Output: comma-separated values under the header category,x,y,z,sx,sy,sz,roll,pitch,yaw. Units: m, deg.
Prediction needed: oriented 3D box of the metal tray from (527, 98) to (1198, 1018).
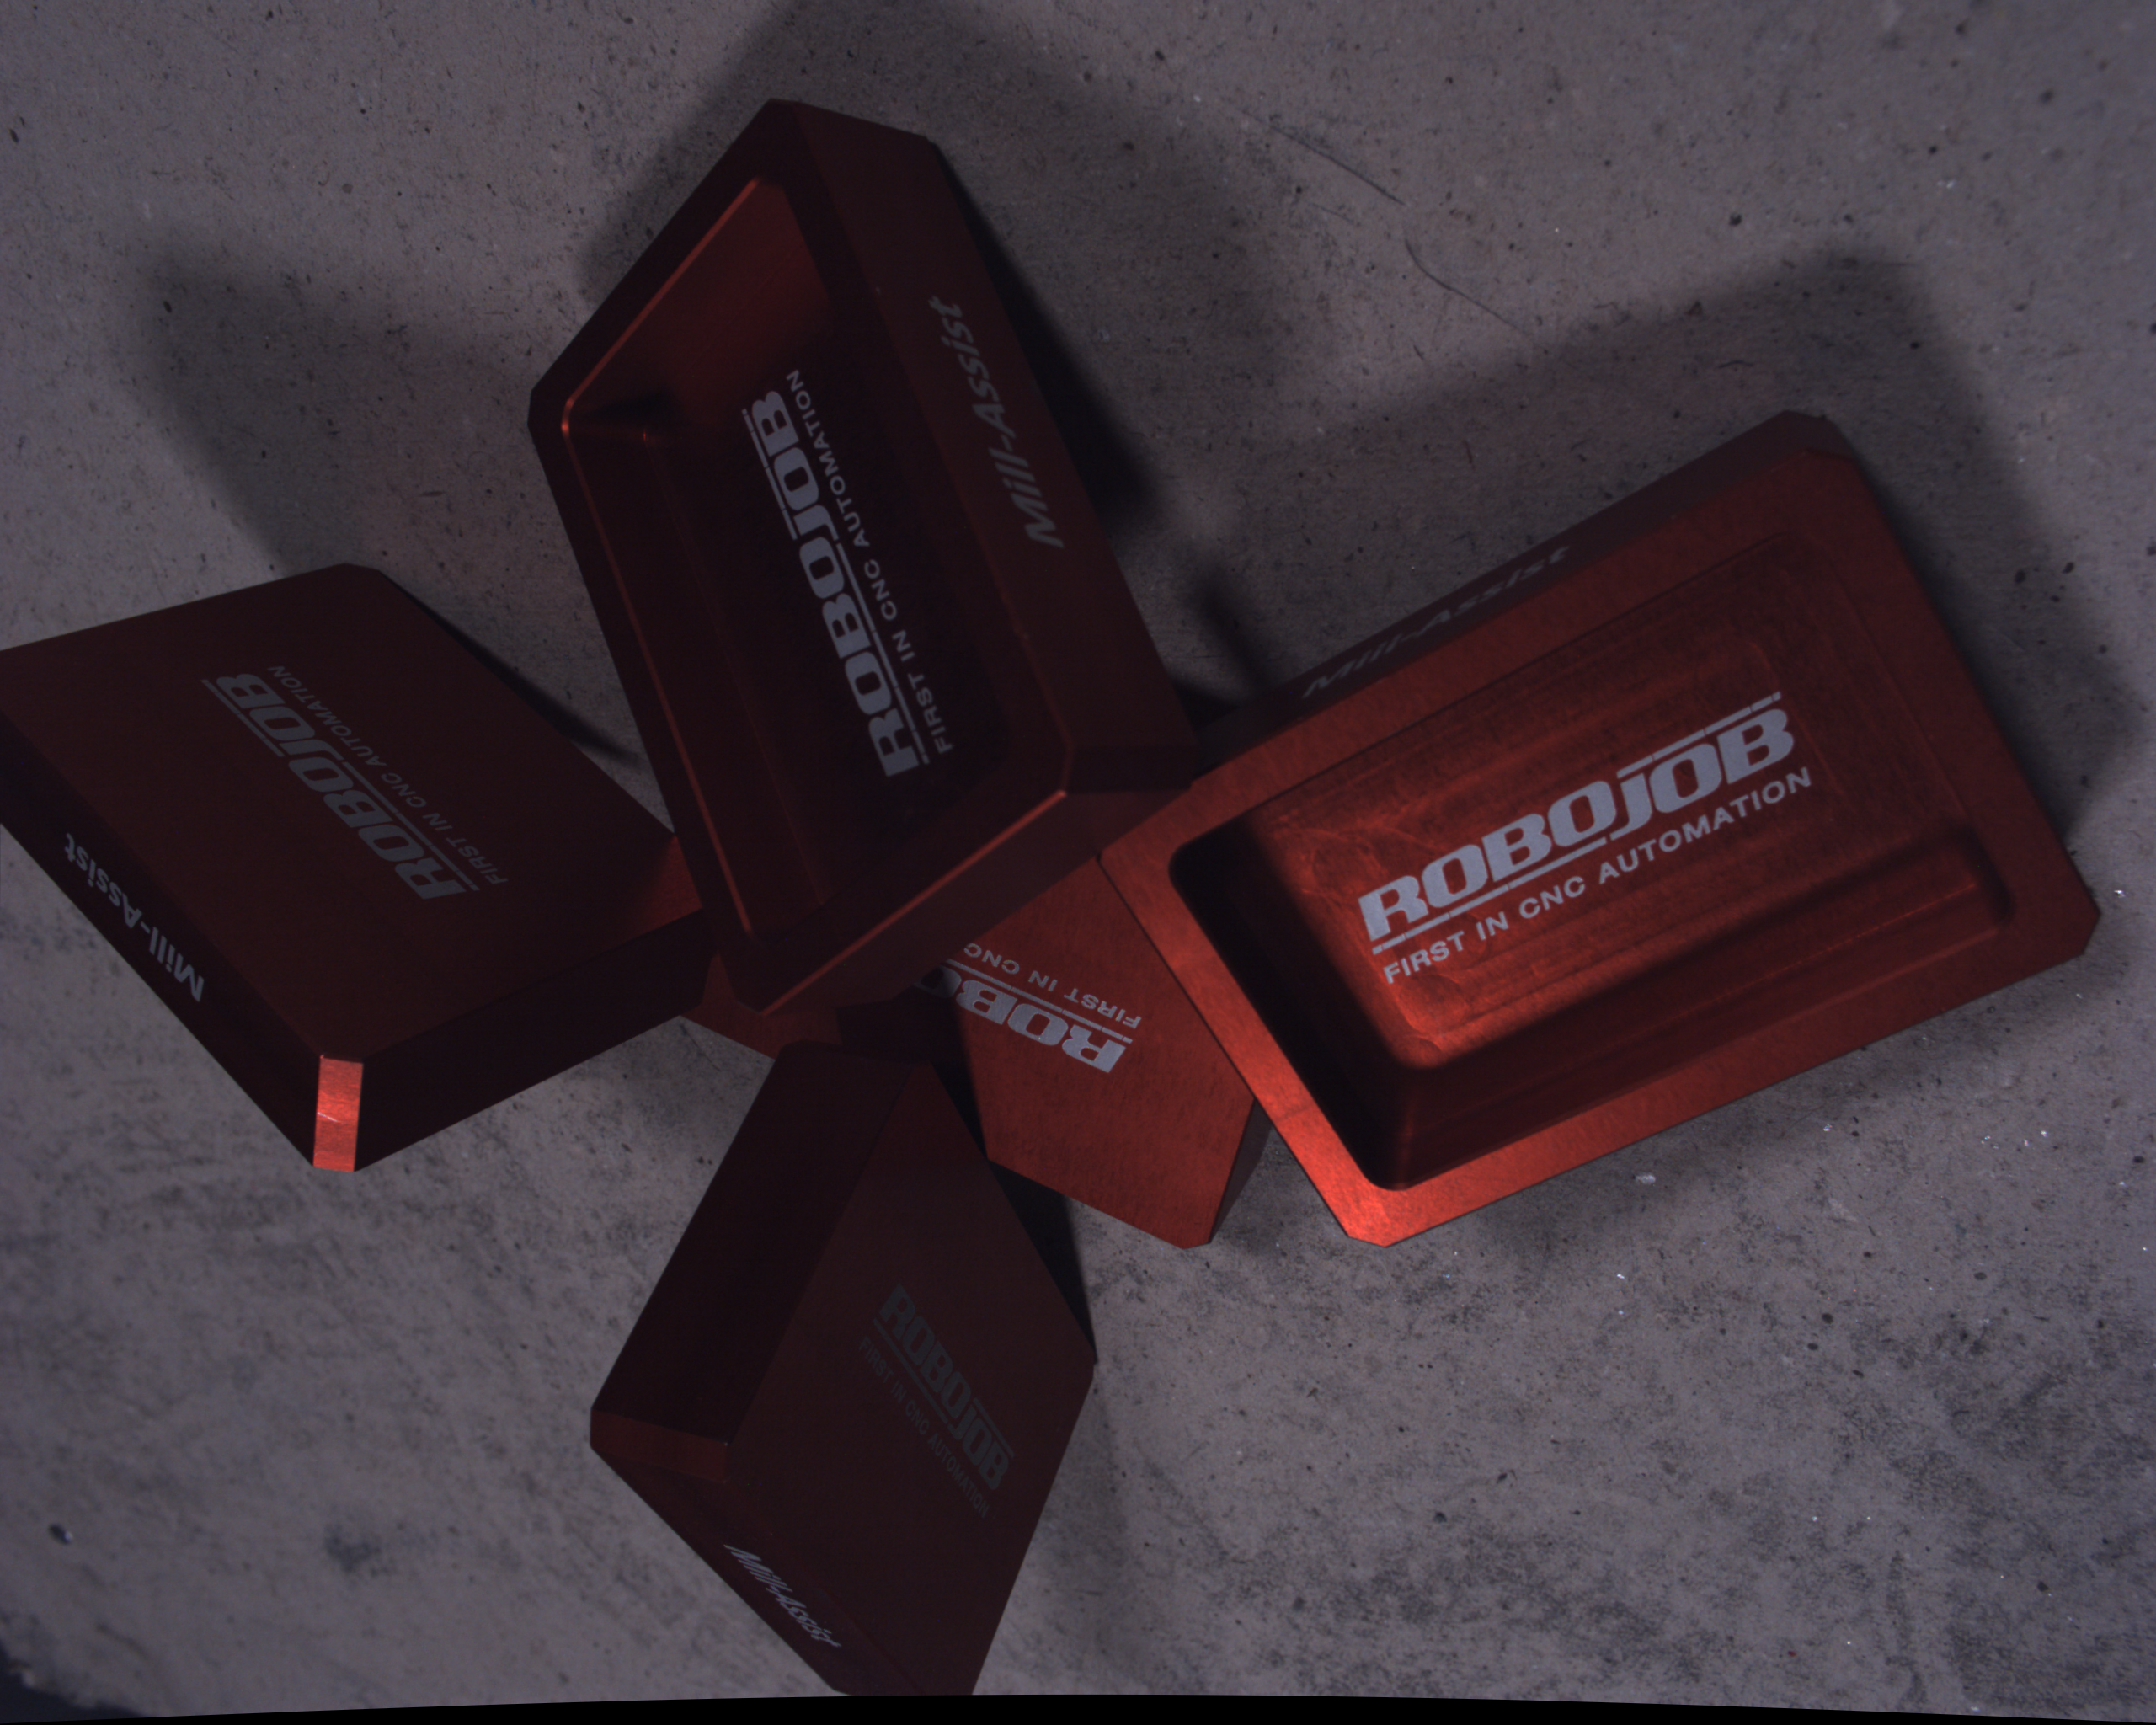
category,x,y,z,sx,sy,sz,roll,pitch,yaw
metal tray,-0.042,-0.050,0.357,0.090,0.030,0.130,-36,70,38

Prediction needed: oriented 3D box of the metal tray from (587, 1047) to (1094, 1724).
category,x,y,z,sx,sy,sz,roll,pitch,yaw
metal tray,-0.042,0.110,0.430,0.030,0.090,0.130,6,142,26

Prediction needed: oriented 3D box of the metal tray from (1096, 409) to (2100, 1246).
category,x,y,z,sx,sy,sz,roll,pitch,yaw
metal tray,0.081,-0.002,0.339,0.130,0.030,0.090,-28,104,22

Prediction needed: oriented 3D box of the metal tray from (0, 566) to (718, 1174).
category,x,y,z,sx,sy,sz,roll,pitch,yaw
metal tray,-0.147,-0.005,0.419,0.130,0.091,0.030,39,131,23

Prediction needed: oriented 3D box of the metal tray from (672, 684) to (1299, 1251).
category,x,y,z,sx,sy,sz,roll,pitch,yaw
metal tray,-0.019,0.014,0.422,0.130,0.030,0.089,23,127,13
